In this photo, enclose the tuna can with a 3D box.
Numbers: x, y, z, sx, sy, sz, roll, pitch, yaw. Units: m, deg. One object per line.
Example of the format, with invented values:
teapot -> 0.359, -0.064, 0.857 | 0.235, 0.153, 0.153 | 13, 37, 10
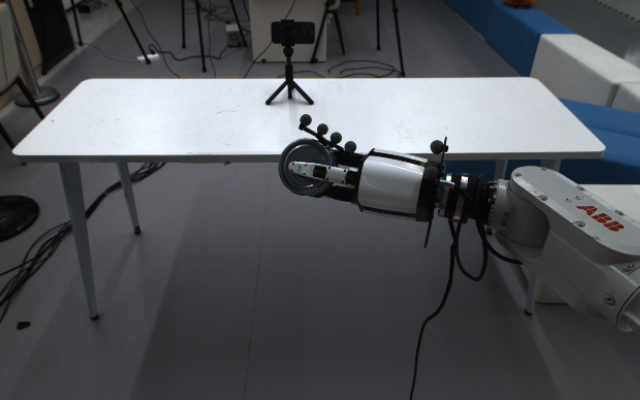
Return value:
tuna can -> -0.017, -0.049, 0.721 | 0.085, 0.085, 0.034 | 12, 4, 14
